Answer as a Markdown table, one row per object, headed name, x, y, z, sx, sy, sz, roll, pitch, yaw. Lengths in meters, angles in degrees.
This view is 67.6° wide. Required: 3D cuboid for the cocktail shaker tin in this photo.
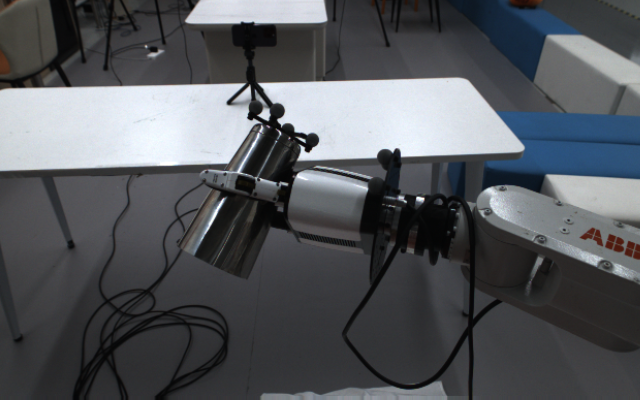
| name | x | y | z | sx | sy | sz | roll | pitch | yaw |
| --- | --- | --- | --- | --- | --- | --- | --- | --- | --- |
| cocktail shaker tin | -0.087 | -0.004 | 0.580 | 0.093 | 0.093 | 0.170 | 21 | 81 | 25 |
